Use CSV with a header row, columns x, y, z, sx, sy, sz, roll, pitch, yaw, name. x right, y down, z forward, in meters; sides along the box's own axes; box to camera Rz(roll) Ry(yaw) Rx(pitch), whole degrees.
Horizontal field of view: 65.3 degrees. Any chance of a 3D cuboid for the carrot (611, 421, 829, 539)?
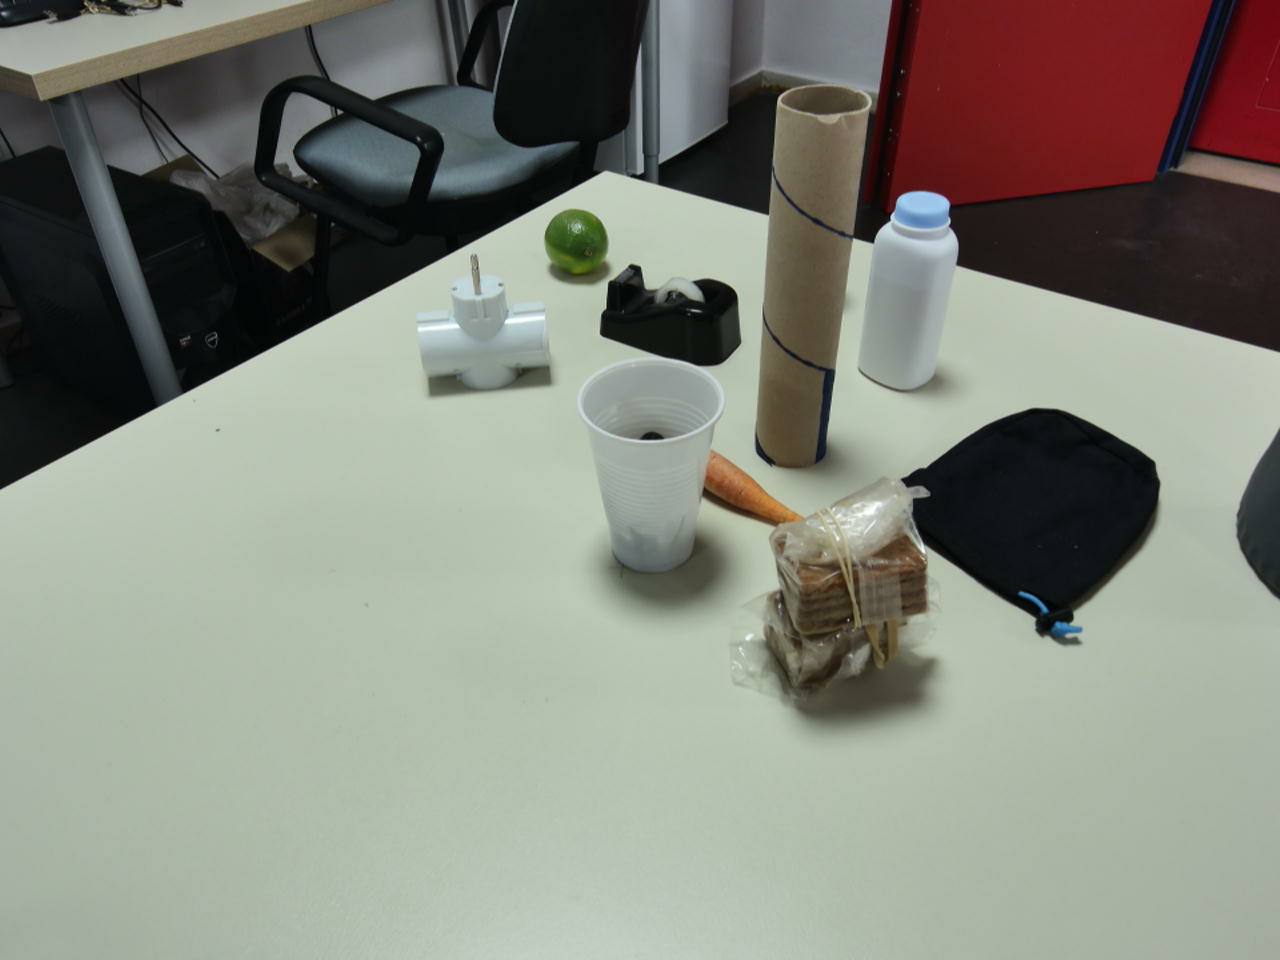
x,y,z,sx,sy,sz,roll,pitch,yaw,name
0.047,-0.004,0.620,0.163,0.029,0.031,25,44,28,carrot
